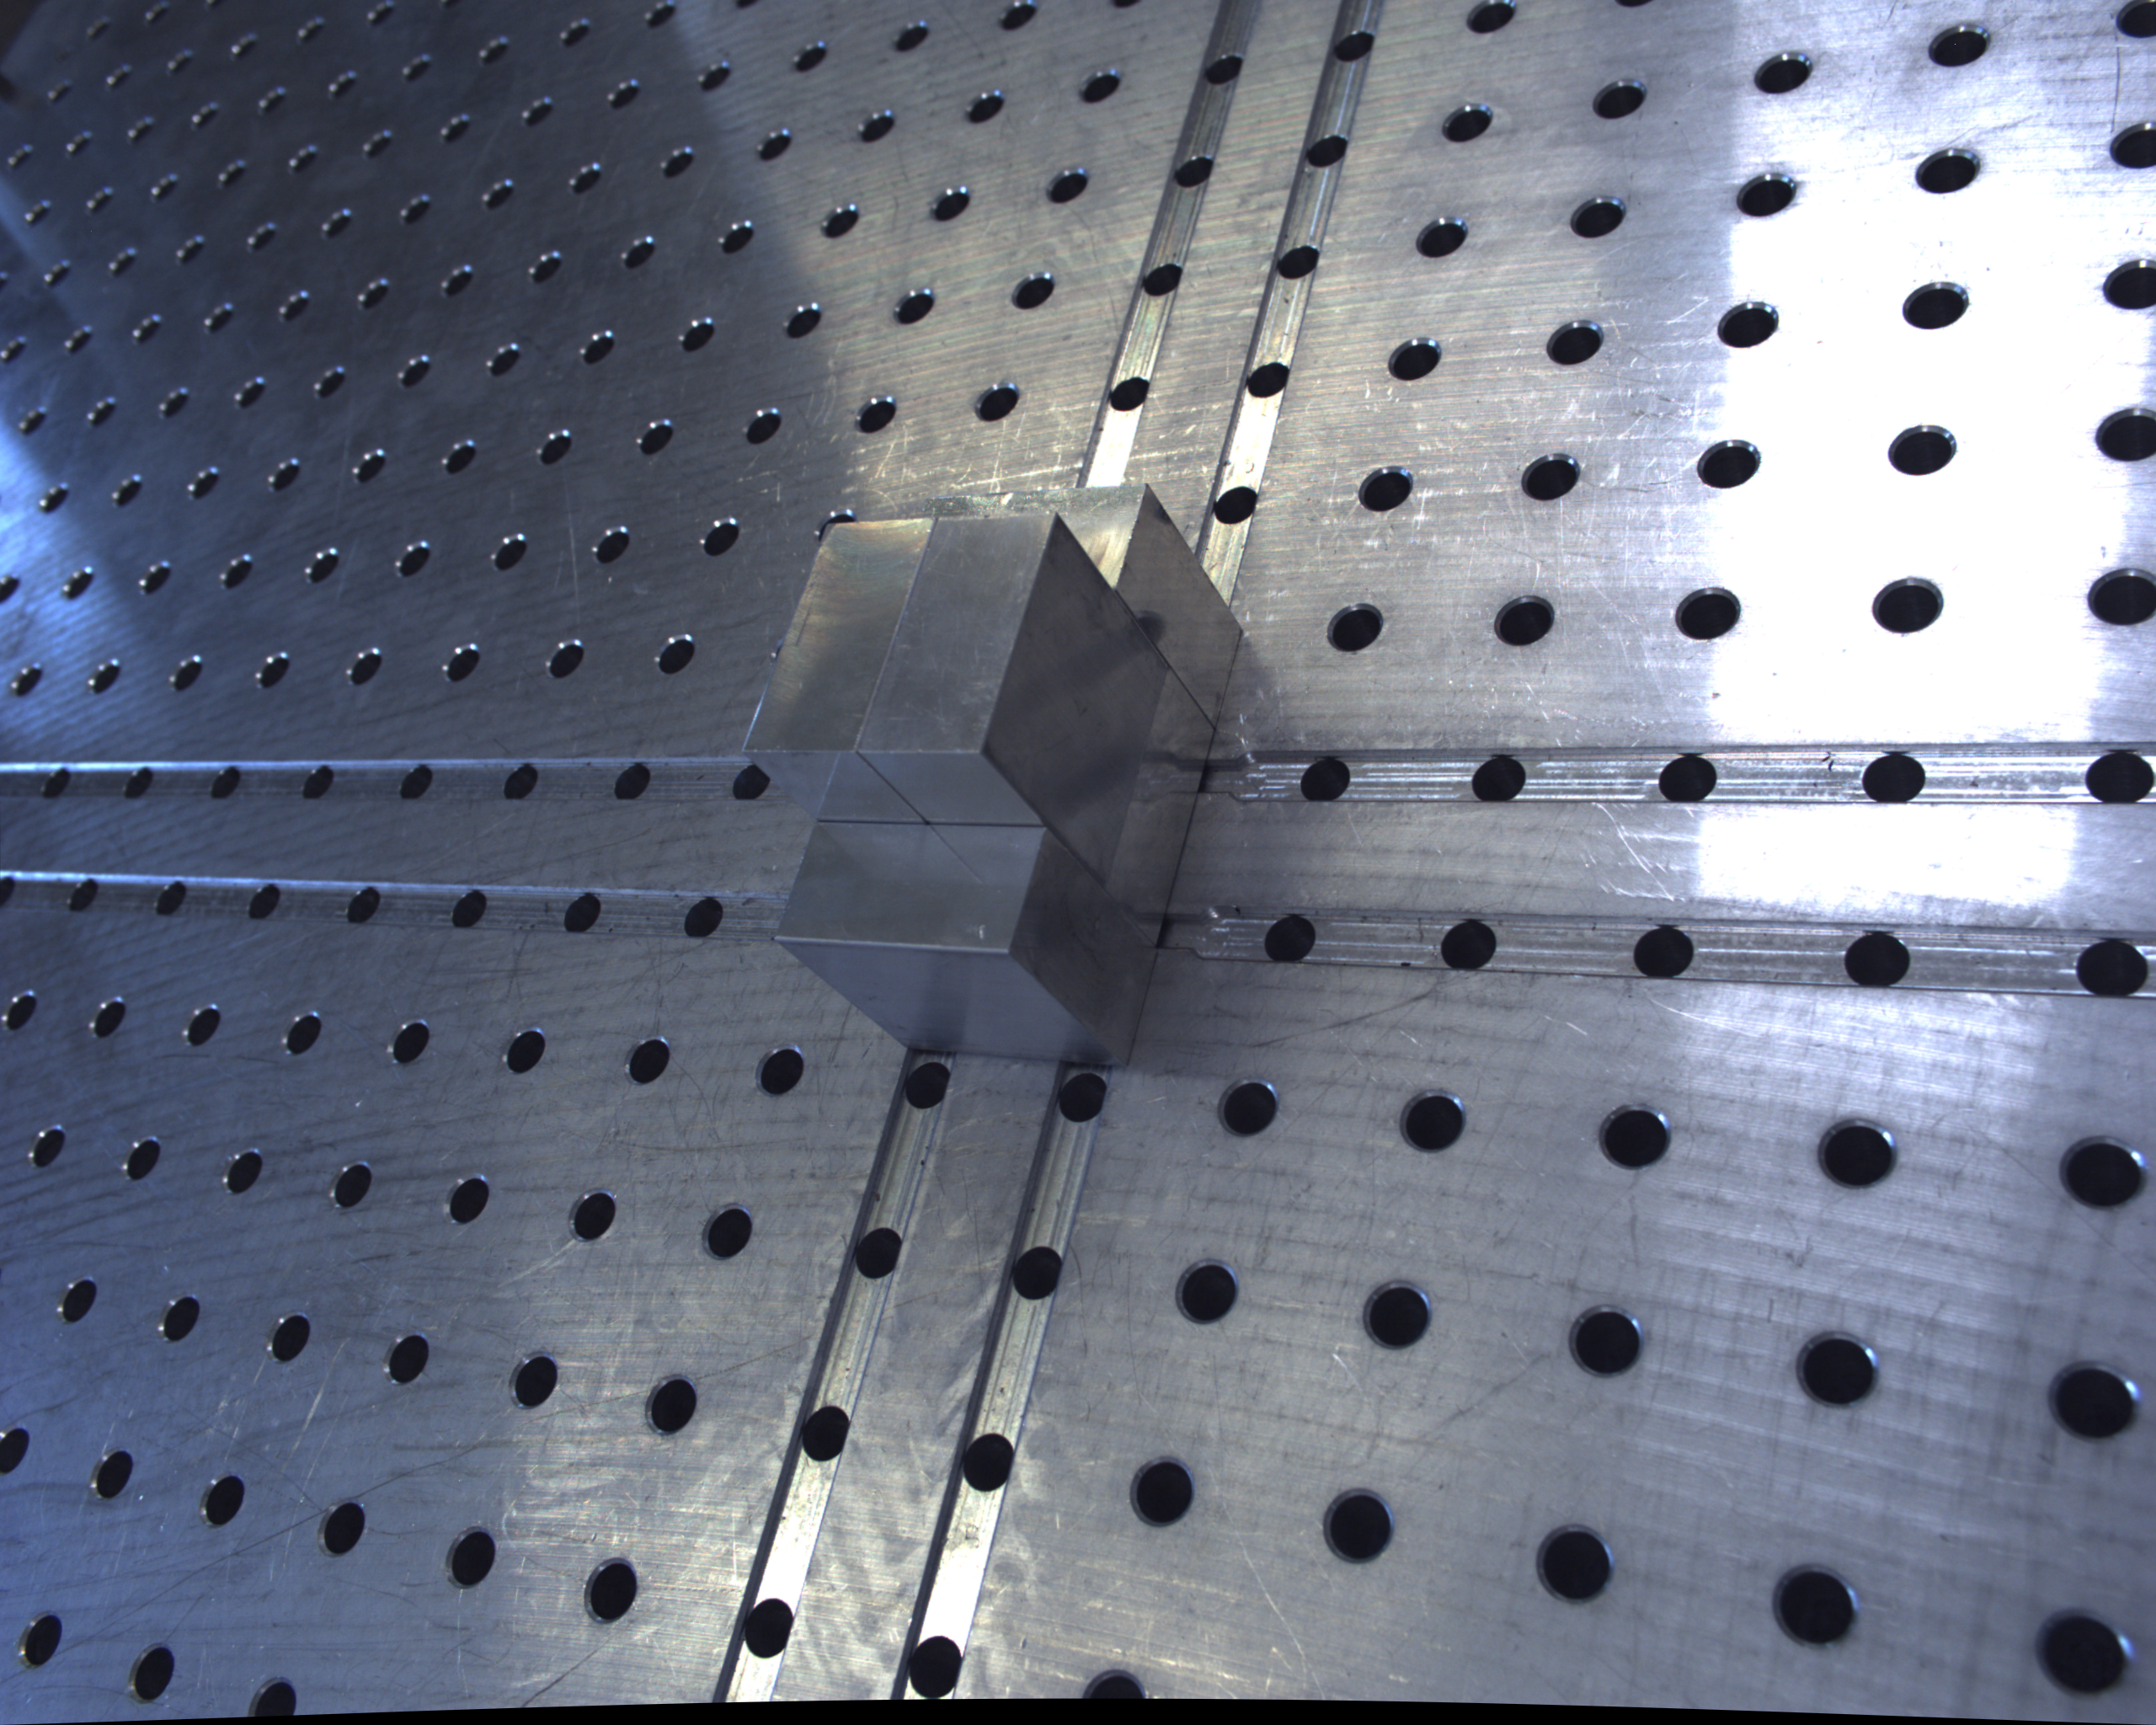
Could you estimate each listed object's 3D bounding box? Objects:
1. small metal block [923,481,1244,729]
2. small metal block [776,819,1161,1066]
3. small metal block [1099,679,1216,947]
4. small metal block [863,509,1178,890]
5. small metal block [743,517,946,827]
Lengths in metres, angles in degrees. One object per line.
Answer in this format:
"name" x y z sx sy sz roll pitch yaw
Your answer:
"small metal block" -0.001 -0.051 0.424 0.050 0.050 0.025 2 63 29
"small metal block" -0.020 0.015 0.394 0.050 0.050 0.025 2 62 29
"small metal block" -0.005 -0.012 0.419 0.050 0.025 0.050 1 62 30
"small metal block" -0.009 -0.029 0.383 0.025 0.050 0.050 1 62 30
"small metal block" -0.032 -0.030 0.396 0.025 0.050 0.050 2 63 29
